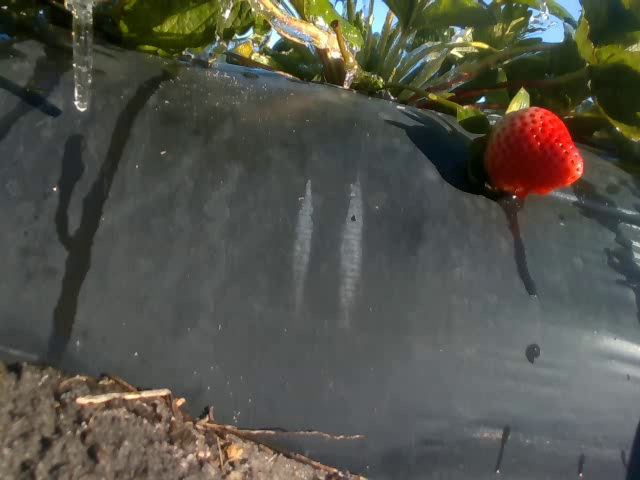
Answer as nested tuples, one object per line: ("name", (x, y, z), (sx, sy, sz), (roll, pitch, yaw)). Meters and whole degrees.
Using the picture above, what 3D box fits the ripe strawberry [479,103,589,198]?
("ripe strawberry", (0.089, -0.034, 0.239), (0.039, 0.041, 0.053), (0, 27, -14))
